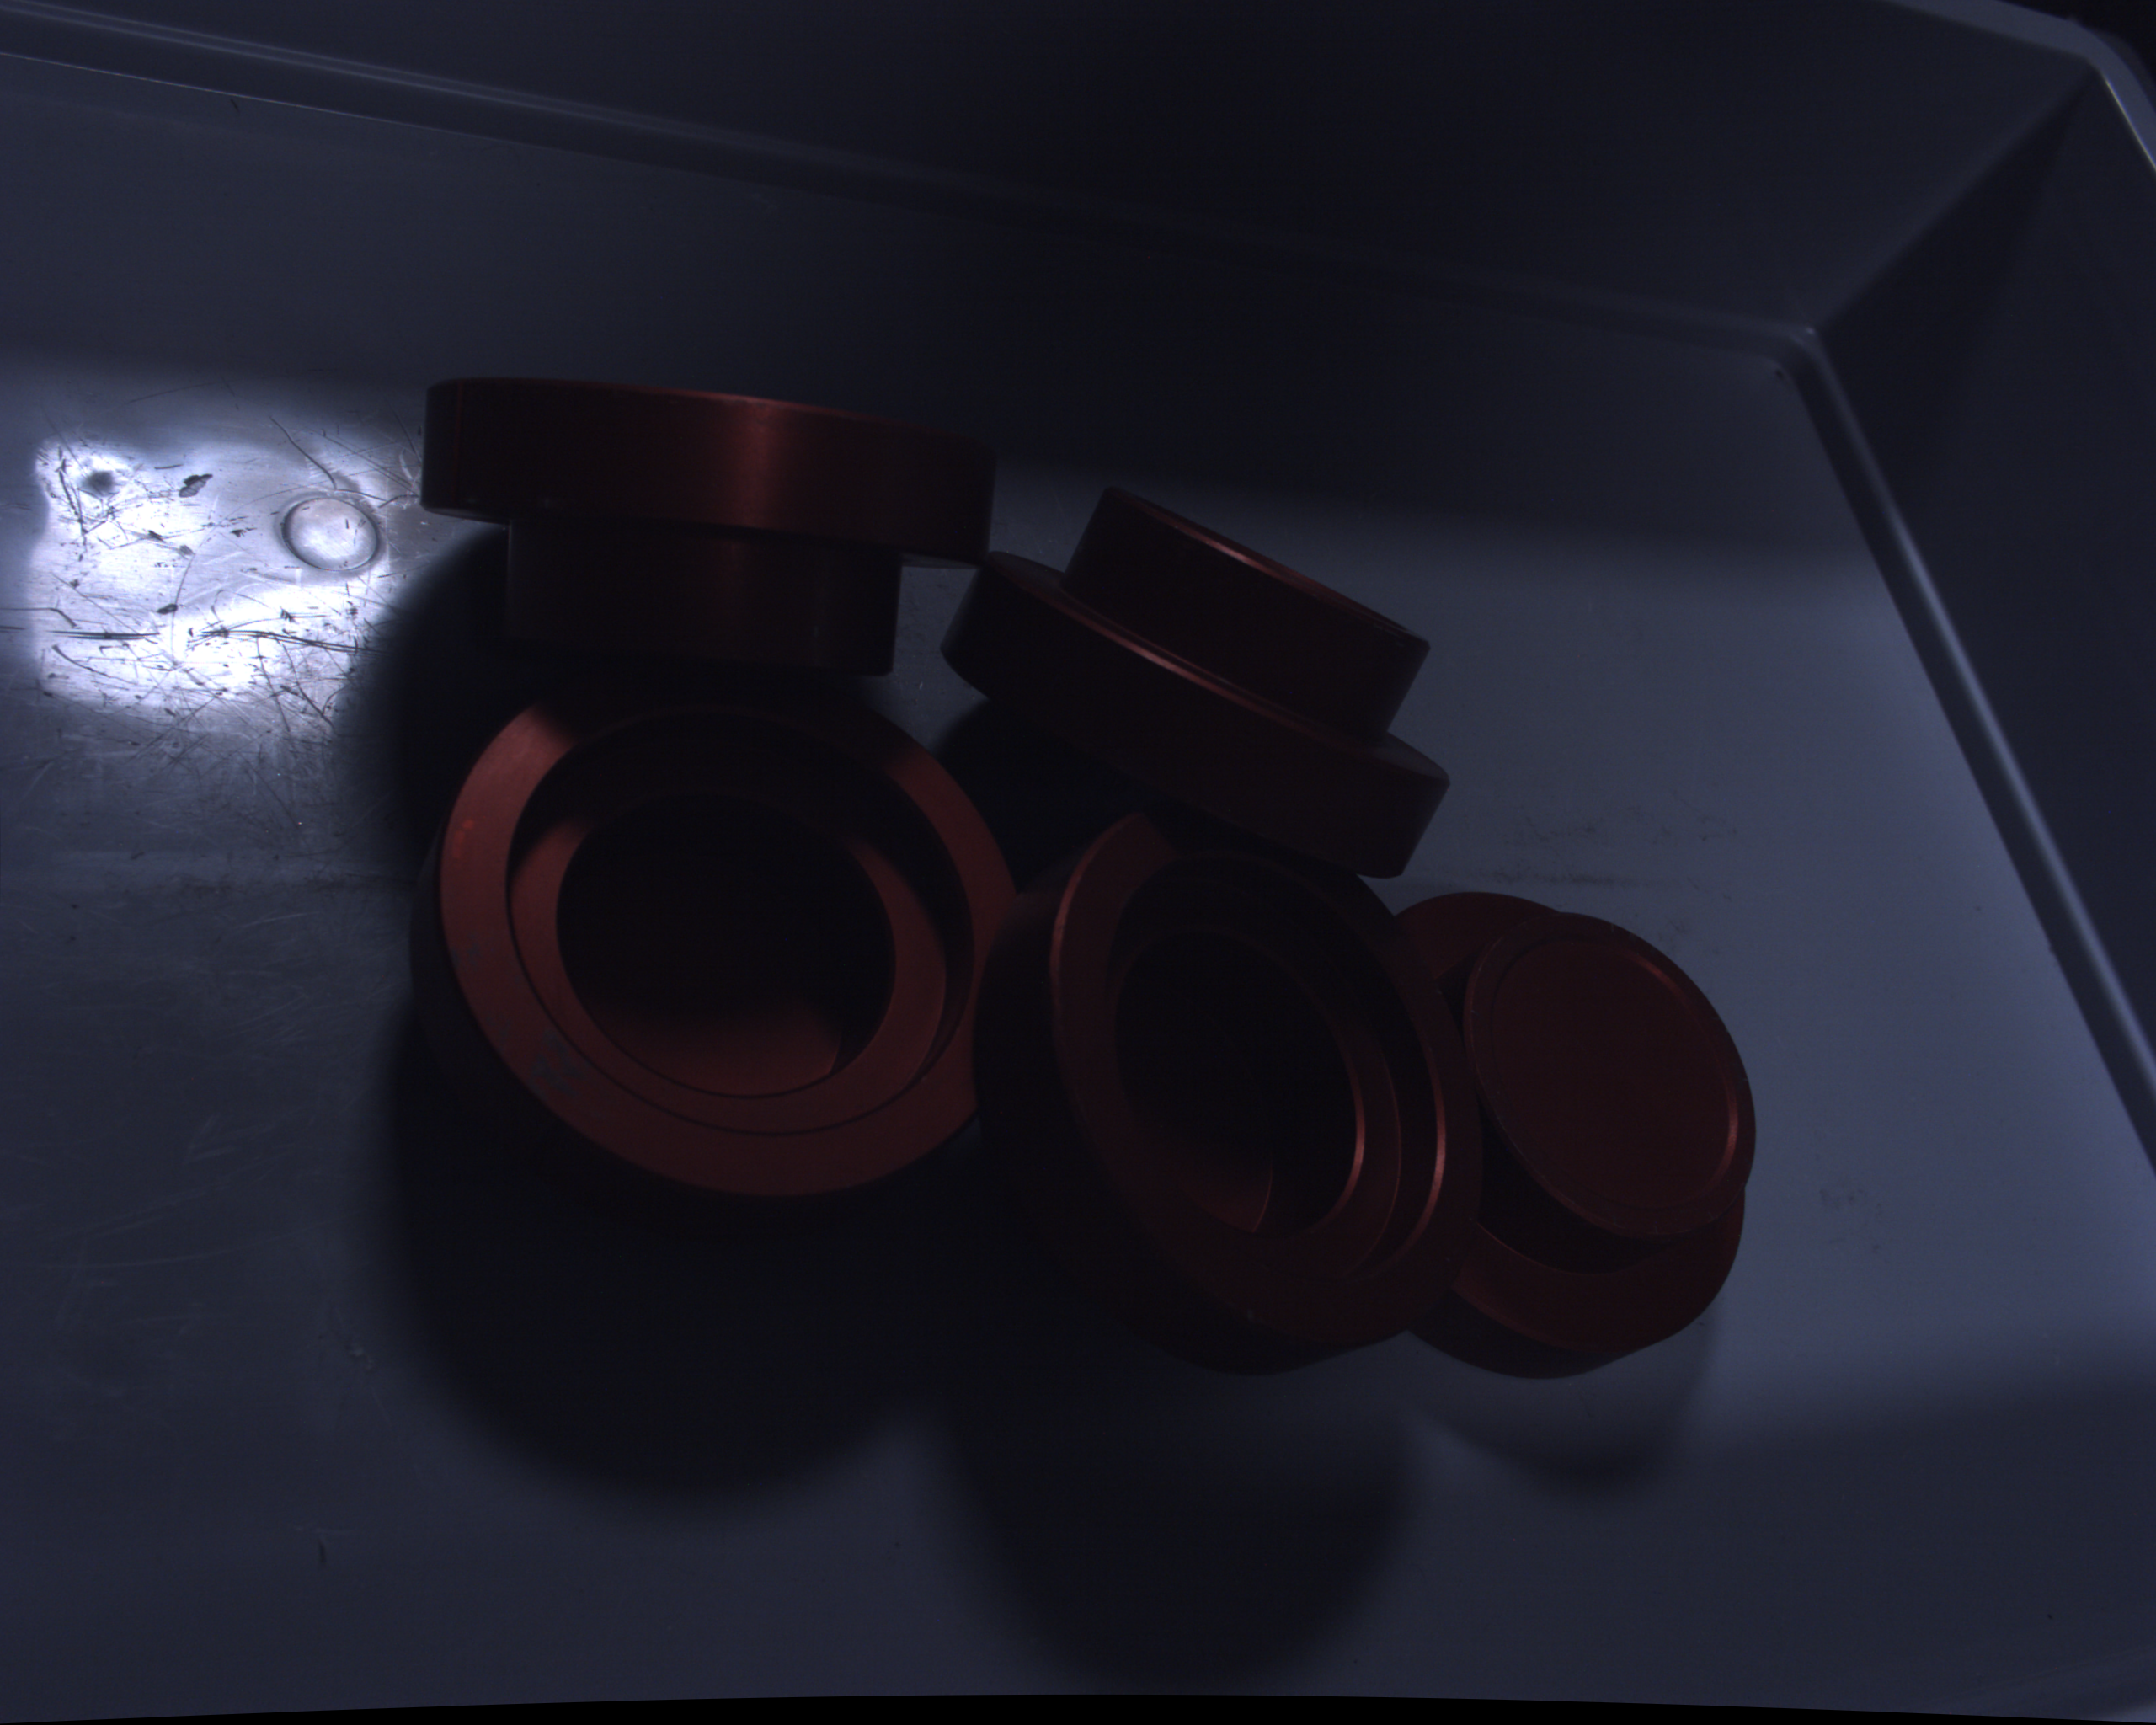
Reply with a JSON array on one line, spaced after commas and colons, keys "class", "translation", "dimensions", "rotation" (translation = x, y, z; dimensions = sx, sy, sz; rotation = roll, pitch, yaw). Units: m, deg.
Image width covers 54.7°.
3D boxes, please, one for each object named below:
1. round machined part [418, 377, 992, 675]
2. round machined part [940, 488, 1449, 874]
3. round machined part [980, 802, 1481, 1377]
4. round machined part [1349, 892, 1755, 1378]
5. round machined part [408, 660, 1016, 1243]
[{"class": "round machined part", "translation": [-0.066, -0.057, 0.370], "dimensions": [0.099, 0.098, 0.042], "rotation": [2, 96, -27]}, {"class": "round machined part", "translation": [0.027, -0.038, 0.397], "dimensions": [0.098, 0.042, 0.098], "rotation": [25, 11, -5]}, {"class": "round machined part", "translation": [0.022, 0.041, 0.366], "dimensions": [0.099, 0.042, 0.098], "rotation": [21, 55, -34]}, {"class": "round machined part", "translation": [0.094, 0.049, 0.415], "dimensions": [0.099, 0.042, 0.098], "rotation": [14, 56, -21]}, {"class": "round machined part", "translation": [-0.061, 0.017, 0.349], "dimensions": [0.099, 0.042, 0.098], "rotation": [14, 56, -21]}]
